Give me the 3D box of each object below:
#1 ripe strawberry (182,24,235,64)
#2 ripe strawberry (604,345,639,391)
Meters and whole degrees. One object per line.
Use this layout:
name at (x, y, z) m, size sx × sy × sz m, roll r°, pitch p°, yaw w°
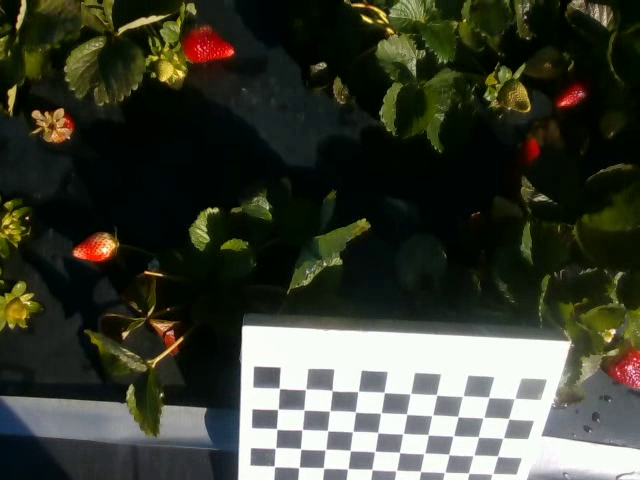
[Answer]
ripe strawberry at (-0.117, -0.204, 0.648) m, size 0.064 × 0.049 × 0.052 m, roll 14°, pitch 27°, yaw 3°
ripe strawberry at (0.315, 0.134, 0.627) m, size 0.048 × 0.054 × 0.029 m, roll -38°, pitch 21°, yaw 17°
